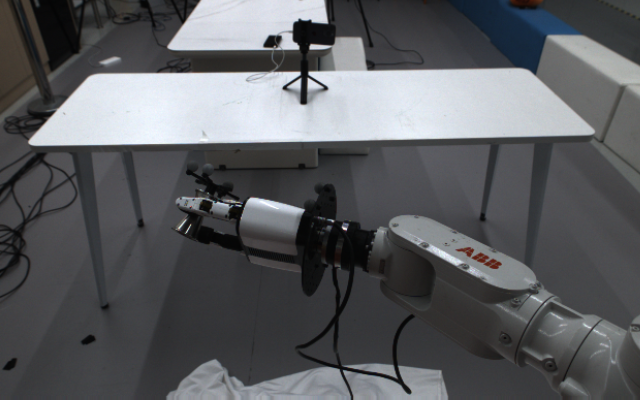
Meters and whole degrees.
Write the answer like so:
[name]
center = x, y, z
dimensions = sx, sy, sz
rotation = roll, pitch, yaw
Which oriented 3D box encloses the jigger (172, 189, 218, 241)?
[jigger]
center = -0.183, 0.020, 0.711
dimensions = 0.043, 0.043, 0.071
rotation = 20, 74, 24
